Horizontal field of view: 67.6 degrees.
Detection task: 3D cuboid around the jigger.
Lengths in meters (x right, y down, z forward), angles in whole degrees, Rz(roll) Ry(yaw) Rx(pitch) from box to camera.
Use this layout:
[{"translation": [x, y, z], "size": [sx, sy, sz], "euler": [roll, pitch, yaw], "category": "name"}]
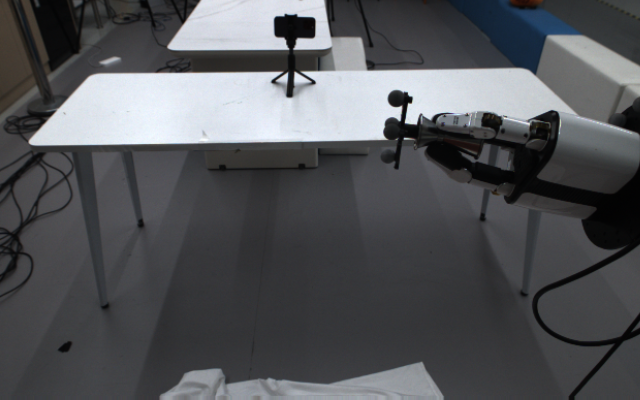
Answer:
[{"translation": [0.147, -0.074, 0.530], "size": [0.071, 0.043, 0.043], "euler": [6, 35, 4], "category": "jigger"}]
